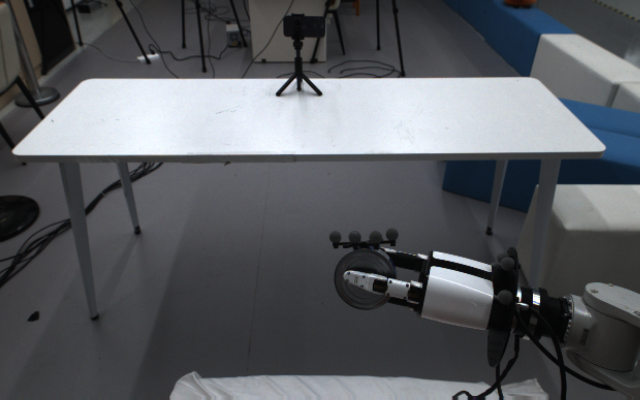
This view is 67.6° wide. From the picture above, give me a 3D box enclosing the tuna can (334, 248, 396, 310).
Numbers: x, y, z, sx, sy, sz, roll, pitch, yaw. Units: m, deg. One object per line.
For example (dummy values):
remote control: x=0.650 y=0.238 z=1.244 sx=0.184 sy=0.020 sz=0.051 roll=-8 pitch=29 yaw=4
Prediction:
tuna can: x=0.065 y=0.106 z=0.675 sx=0.085 sy=0.085 sz=0.034 roll=10 pitch=2 yaw=12
